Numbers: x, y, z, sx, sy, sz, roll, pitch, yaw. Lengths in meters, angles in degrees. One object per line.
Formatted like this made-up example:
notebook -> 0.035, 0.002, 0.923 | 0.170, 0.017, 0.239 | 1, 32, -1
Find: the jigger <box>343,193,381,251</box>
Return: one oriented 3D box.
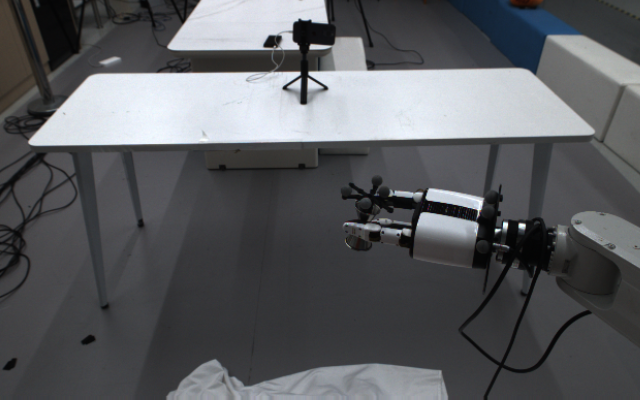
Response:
jigger -> 0.066, 0.038, 0.748 | 0.043, 0.071, 0.043 | 9, 30, -5
